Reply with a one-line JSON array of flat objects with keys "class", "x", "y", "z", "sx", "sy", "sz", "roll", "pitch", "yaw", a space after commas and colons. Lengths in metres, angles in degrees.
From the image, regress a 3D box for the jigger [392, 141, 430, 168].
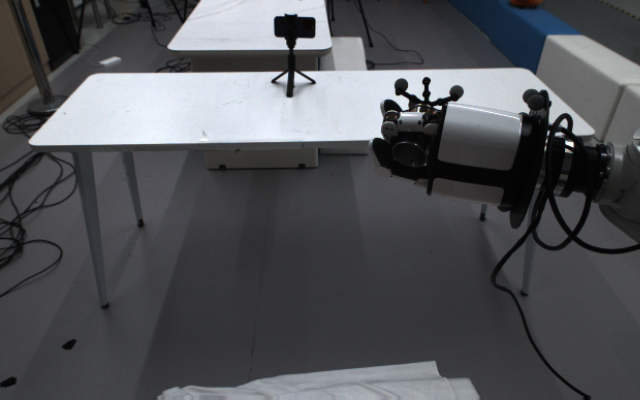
[{"class": "jigger", "x": 0.121, "y": -0.080, "z": 0.591, "sx": 0.043, "sy": 0.043, "sz": 0.071, "roll": 13, "pitch": 58, "yaw": 15}]
